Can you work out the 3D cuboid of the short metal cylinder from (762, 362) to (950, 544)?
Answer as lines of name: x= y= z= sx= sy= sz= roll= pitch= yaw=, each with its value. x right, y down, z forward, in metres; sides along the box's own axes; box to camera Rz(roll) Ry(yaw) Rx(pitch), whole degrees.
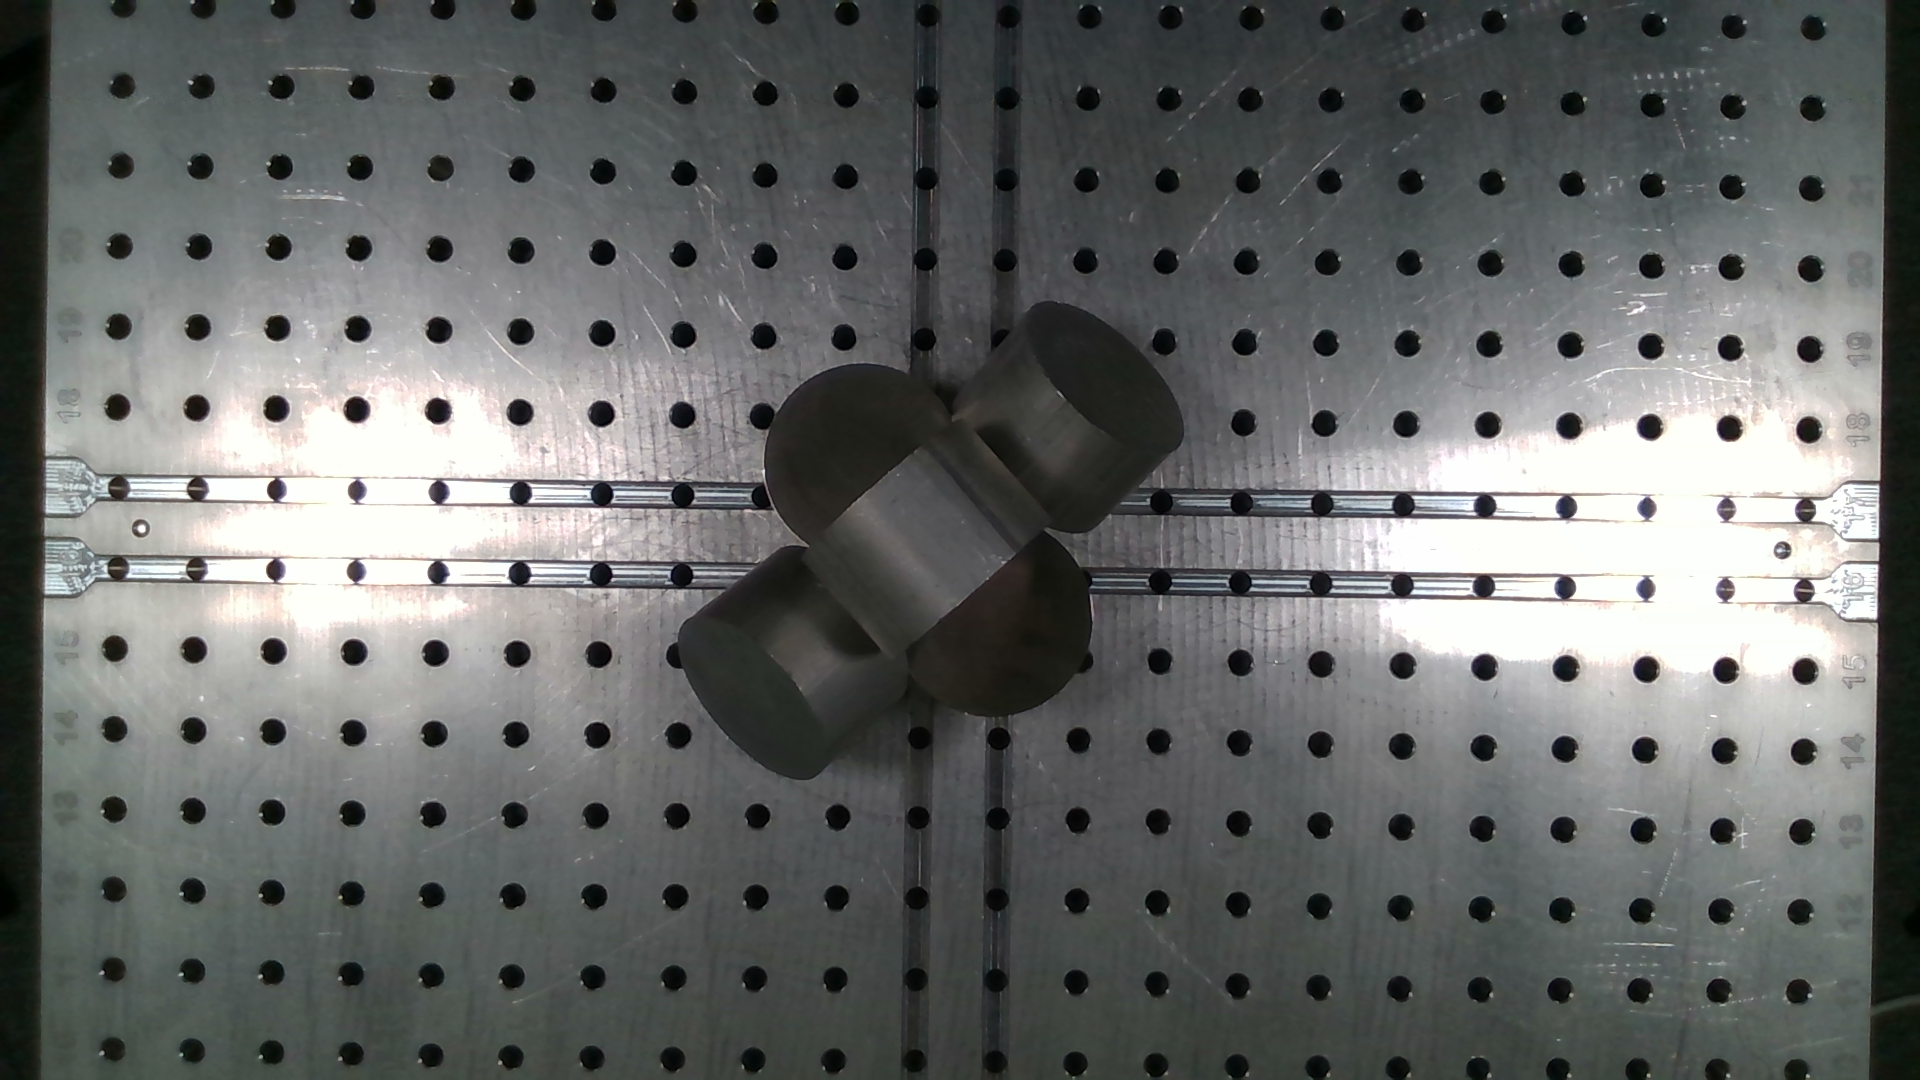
short metal cylinder: x=-0.039 y=-0.031 z=0.576 sx=0.080 sy=0.050 sz=0.080 roll=0 pitch=90 yaw=0

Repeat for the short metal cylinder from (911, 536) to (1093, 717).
short metal cylinder: x=0.013 y=0.031 z=0.576 sx=0.080 sy=0.050 sz=0.080 roll=0 pitch=90 yaw=0

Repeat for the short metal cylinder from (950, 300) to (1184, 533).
short metal cylinder: x=0.043 y=-0.050 z=0.554 sx=0.080 sy=0.080 sz=0.050 roll=44 pitch=124 yaw=0

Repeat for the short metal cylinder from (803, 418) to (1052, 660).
short metal cylinder: x=-0.012 y=0.000 z=0.510 sx=0.080 sy=0.080 sz=0.050 roll=-41 pitch=90 yaw=0

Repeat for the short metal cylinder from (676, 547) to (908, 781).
short metal cylinder: x=-0.068 y=0.050 z=0.555 sx=0.080 sy=0.080 sz=0.050 roll=49 pitch=55 yaw=0
